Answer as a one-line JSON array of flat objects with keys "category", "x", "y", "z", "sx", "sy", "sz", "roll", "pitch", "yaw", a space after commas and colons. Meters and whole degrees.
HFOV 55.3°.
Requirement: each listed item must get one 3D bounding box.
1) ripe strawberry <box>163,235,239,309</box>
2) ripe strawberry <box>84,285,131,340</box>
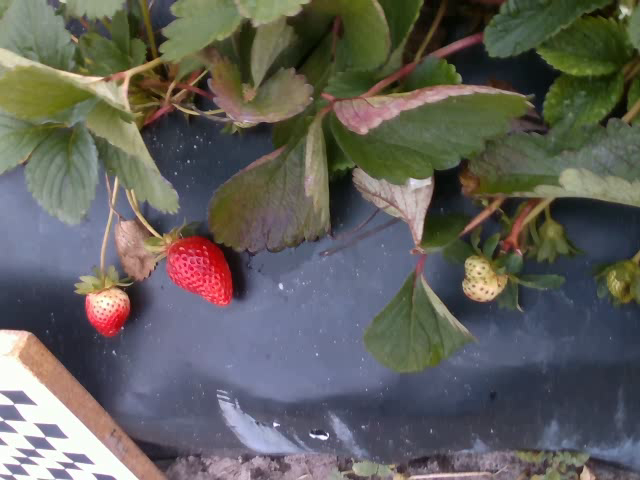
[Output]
[{"category": "ripe strawberry", "x": -0.075, "y": 0.020, "z": 0.370, "sx": 0.042, "sy": 0.059, "sz": 0.044, "roll": -44, "pitch": 1, "yaw": -36}, {"category": "ripe strawberry", "x": -0.143, "y": 0.049, "z": 0.401, "sx": 0.036, "sy": 0.041, "sz": 0.027, "roll": 6, "pitch": 30, "yaw": 24}]
